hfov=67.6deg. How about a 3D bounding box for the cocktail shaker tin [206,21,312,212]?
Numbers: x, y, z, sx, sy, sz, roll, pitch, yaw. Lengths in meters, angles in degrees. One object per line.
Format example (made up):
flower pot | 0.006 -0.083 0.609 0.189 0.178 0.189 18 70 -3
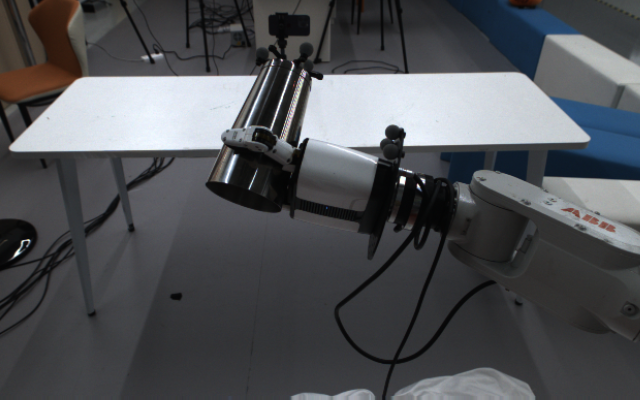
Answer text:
cocktail shaker tin | -0.065 -0.080 0.584 0.093 0.093 0.170 13 73 15
